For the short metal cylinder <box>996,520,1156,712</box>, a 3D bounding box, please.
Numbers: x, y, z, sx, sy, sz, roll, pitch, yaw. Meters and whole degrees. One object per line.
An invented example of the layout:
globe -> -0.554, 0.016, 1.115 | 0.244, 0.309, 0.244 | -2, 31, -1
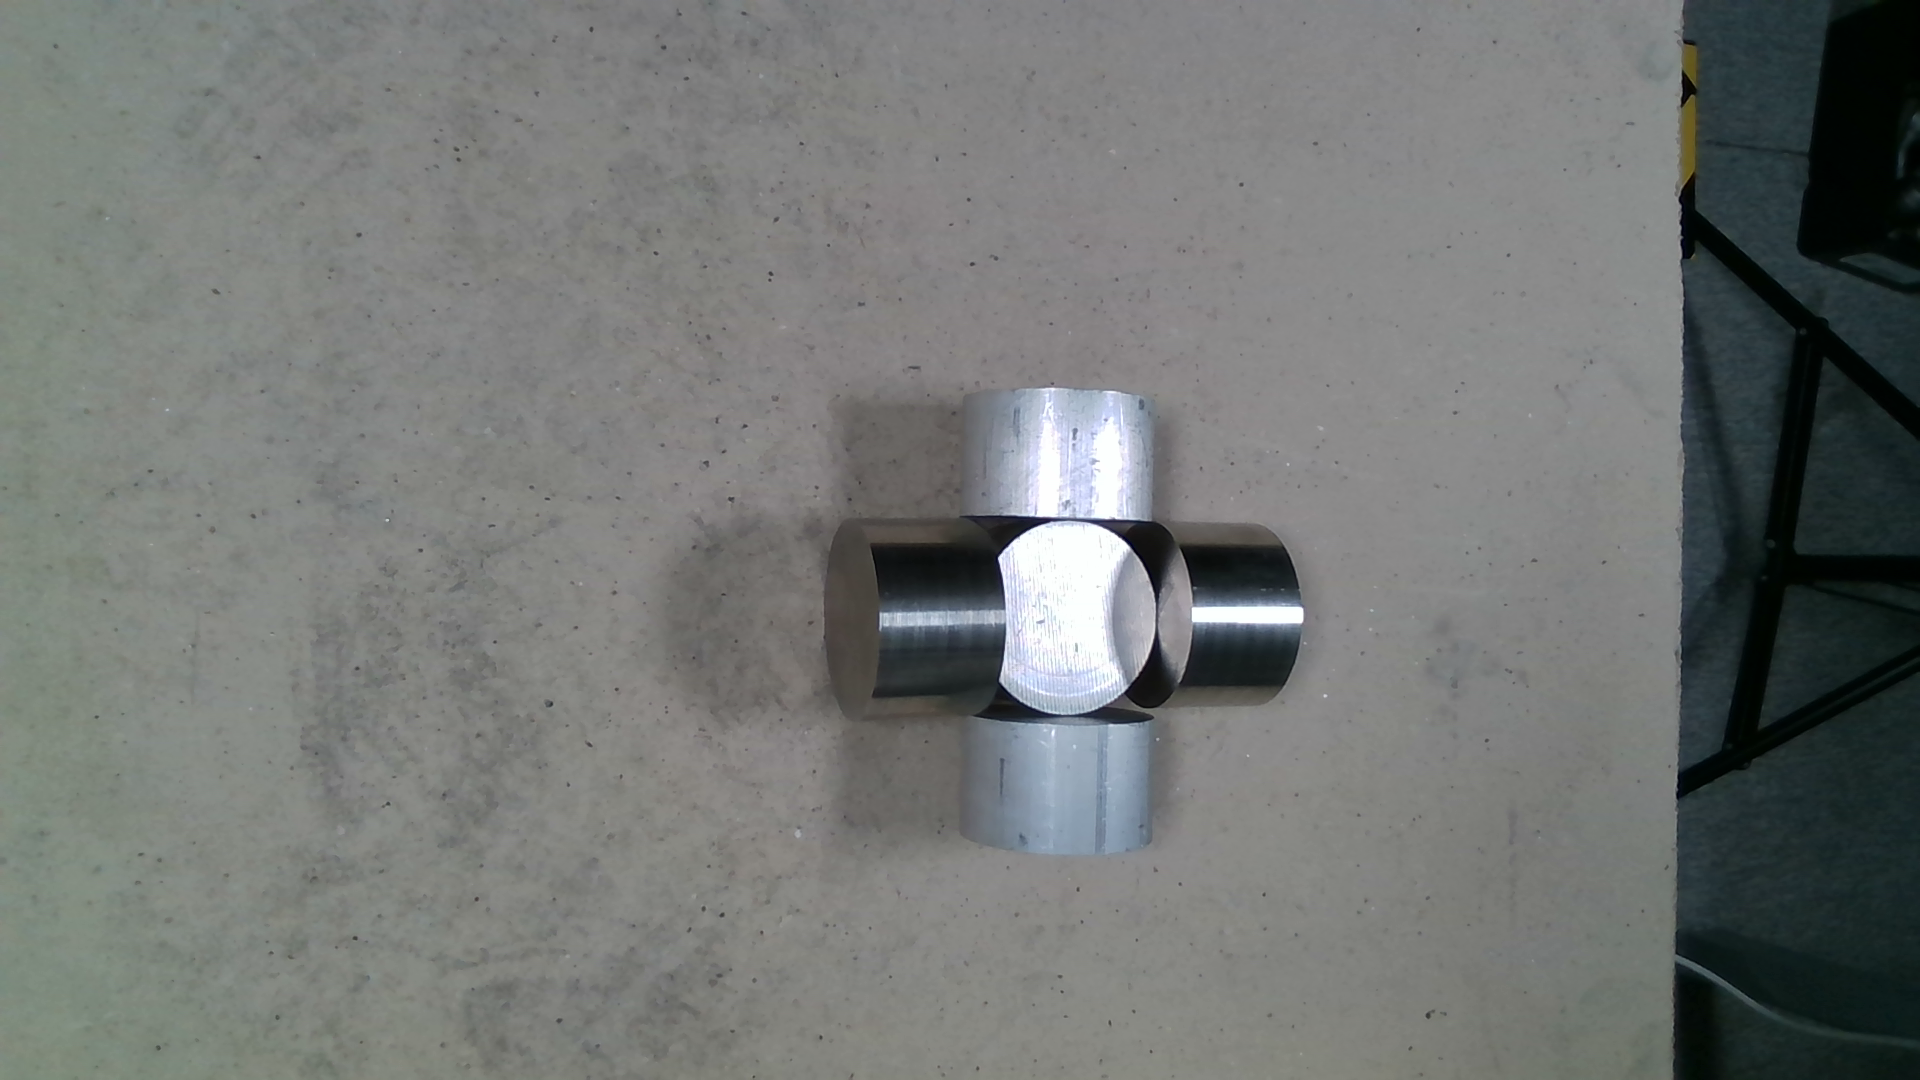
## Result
short metal cylinder -> 0.036, 0.032, 0.587 | 0.080, 0.050, 0.080 | 0, 90, -20

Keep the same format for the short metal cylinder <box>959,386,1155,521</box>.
short metal cylinder -> 0.040, -0.034, 0.572 | 0.080, 0.080, 0.050 | 2, 89, -20

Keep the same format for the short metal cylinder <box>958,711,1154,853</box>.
short metal cylinder -> 0.040, 0.097, 0.572 | 0.080, 0.080, 0.050 | 2, 89, -20

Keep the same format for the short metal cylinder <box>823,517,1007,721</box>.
short metal cylinder -> -0.020, 0.031, 0.549 | 0.050, 0.080, 0.080 | 0, 90, -21

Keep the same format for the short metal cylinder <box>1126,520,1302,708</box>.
short metal cylinder -> 0.104, 0.032, 0.594 | 0.050, 0.080, 0.080 | 2, 90, -20
